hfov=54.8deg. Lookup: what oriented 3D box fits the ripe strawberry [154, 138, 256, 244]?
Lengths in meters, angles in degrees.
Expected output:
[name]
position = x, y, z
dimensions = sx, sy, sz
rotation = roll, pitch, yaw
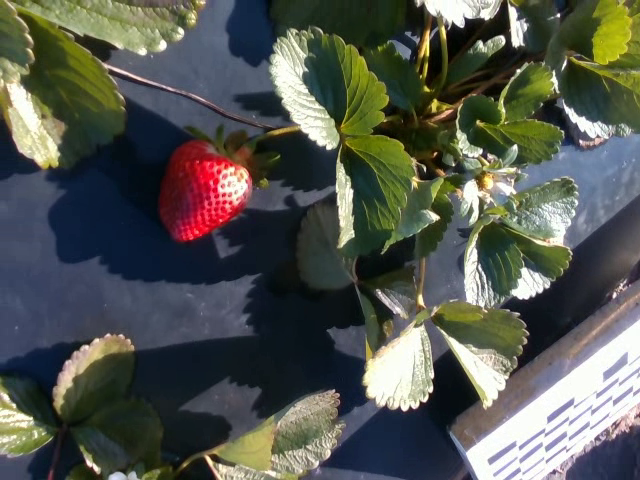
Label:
[ripe strawberry]
position = -0.052, -0.021, 0.268
dimensions = 0.044, 0.056, 0.042
rotation = 28, -11, 29
